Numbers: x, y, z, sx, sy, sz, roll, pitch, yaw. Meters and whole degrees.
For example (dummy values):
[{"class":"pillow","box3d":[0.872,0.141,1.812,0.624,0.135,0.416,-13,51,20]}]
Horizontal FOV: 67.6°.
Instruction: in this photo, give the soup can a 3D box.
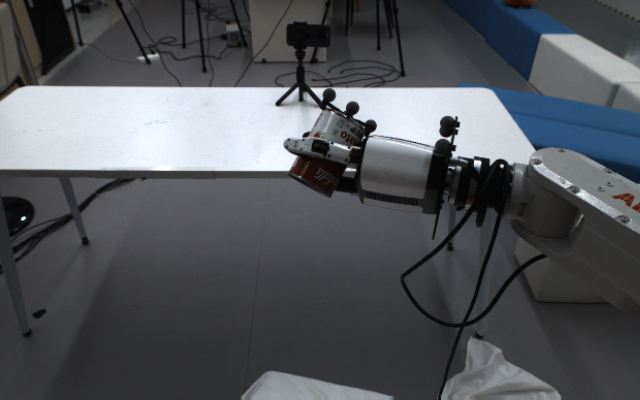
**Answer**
[{"class":"soup can","box3d":[0.010,-0.063,0.650,0.067,0.101,0.067,29,-2,1]}]
